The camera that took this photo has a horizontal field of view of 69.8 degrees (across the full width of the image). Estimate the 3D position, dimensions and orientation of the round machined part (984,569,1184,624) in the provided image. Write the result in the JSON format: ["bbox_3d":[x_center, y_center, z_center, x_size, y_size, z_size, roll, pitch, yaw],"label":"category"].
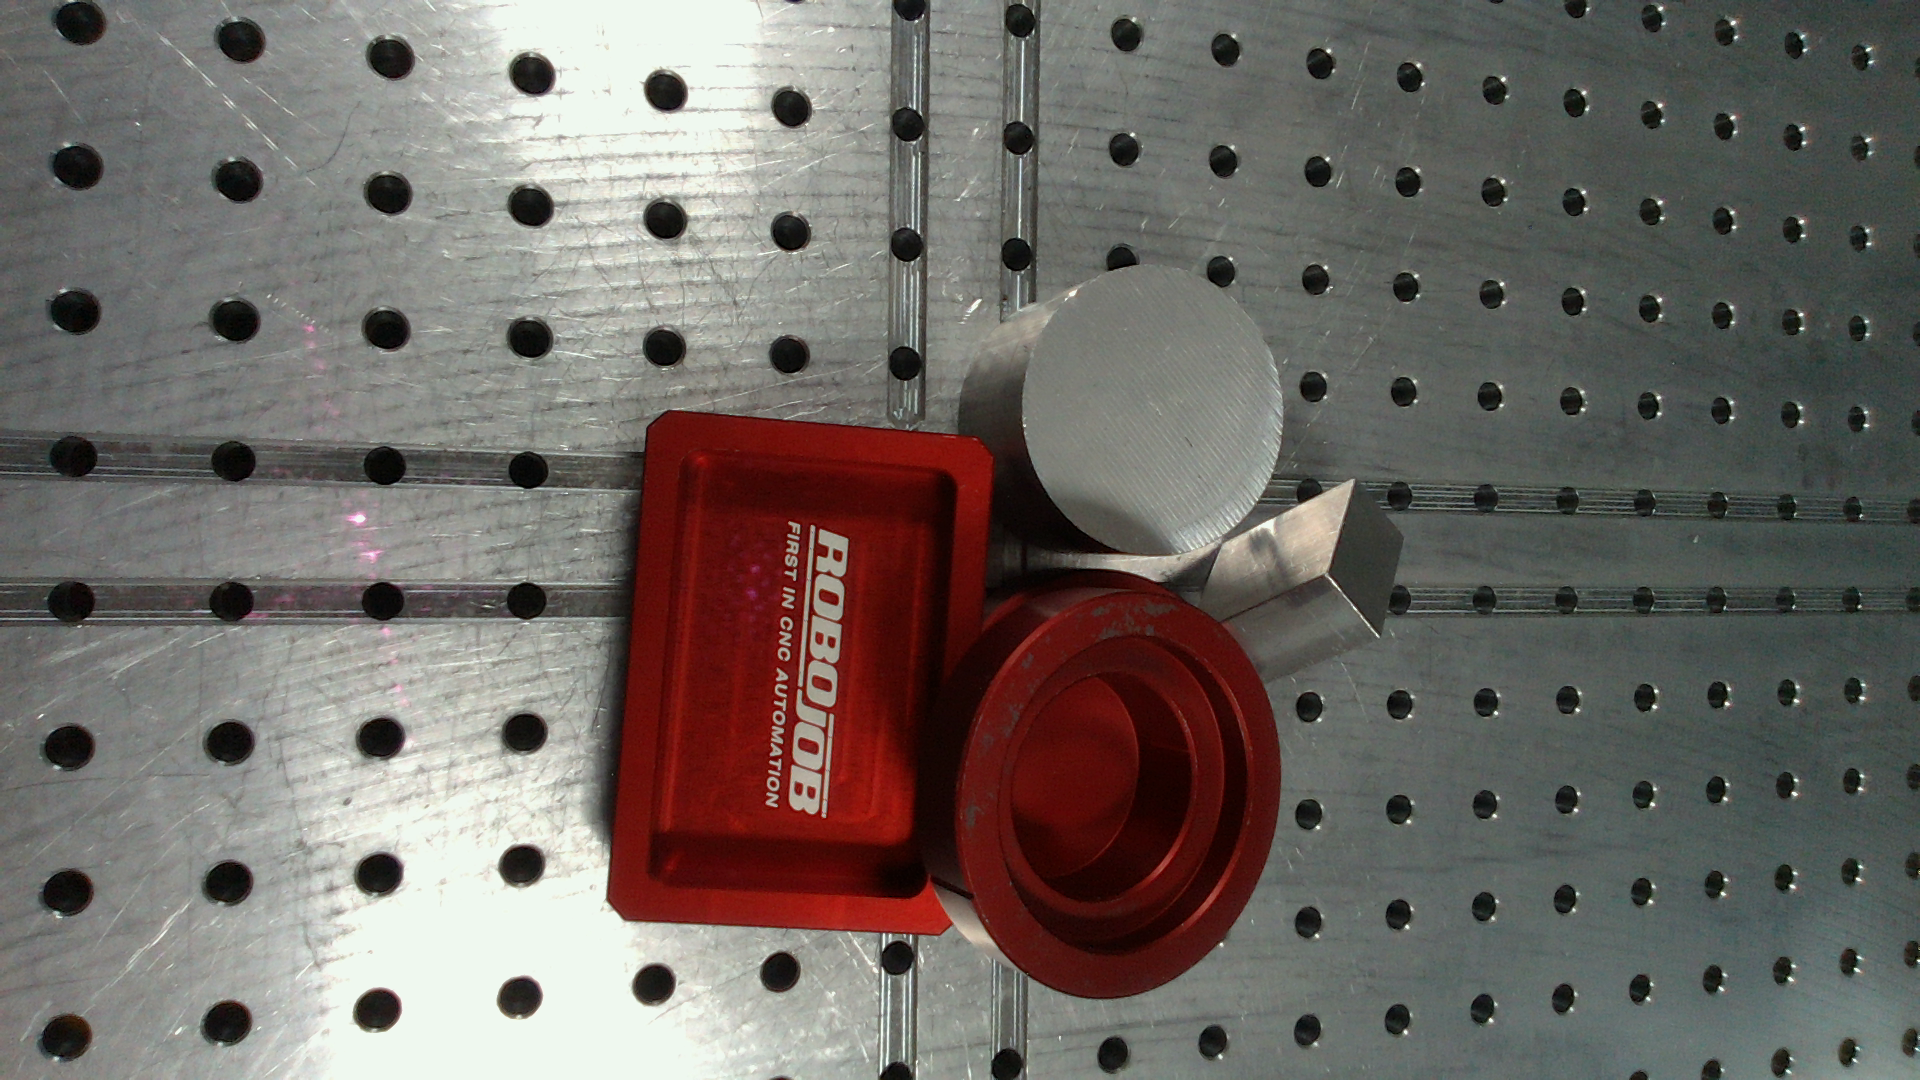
[{"bbox_3d":[0.041,0.058,0.401,0.098,0.042,0.098,0,90,-20],"label":"round machined part"}]

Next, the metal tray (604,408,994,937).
[{"bbox_3d":[-0.042,0.035,0.366,0.090,0.030,0.130,4,88,-5],"label":"metal tray"}]

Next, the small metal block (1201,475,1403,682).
[{"bbox_3d":[0.100,0.014,0.409,0.025,0.050,0.050,48,40,-13],"label":"small metal block"}]

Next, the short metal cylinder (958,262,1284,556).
[{"bbox_3d":[0.046,-0.036,0.399,0.080,0.050,0.080,0,90,-20],"label":"short metal cylinder"}]

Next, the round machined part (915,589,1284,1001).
[{"bbox_3d":[0.031,0.061,0.348,0.098,0.042,0.098,-1,92,-30],"label":"round machined part"}]
